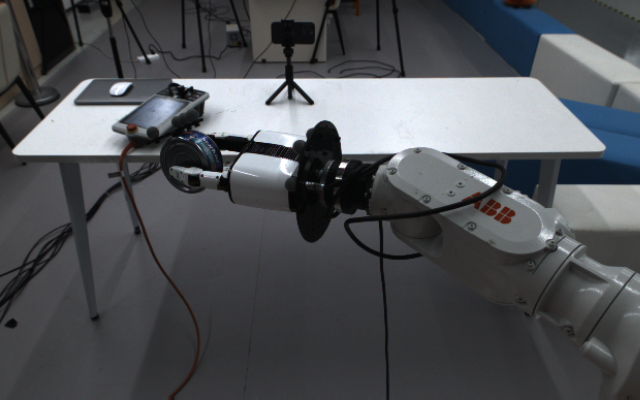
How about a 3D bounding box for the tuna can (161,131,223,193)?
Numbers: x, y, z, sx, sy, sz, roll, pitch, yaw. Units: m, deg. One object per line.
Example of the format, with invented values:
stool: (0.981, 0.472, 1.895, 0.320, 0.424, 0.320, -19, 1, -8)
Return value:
tuna can: (-0.182, -0.053, 0.684, 0.085, 0.085, 0.034, 14, 30, 17)
